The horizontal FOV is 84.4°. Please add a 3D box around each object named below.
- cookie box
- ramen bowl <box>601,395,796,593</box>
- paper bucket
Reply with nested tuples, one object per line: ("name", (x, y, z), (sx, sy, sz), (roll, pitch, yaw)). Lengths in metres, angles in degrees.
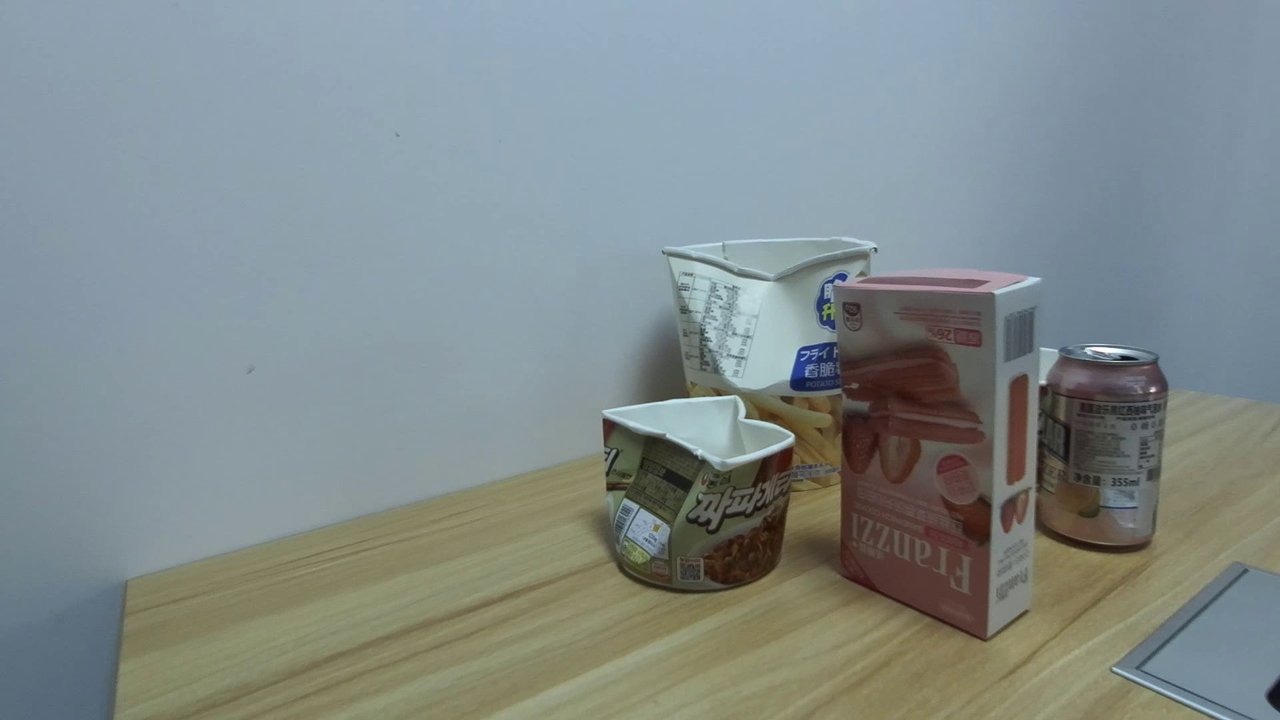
("cookie box", (0.158, 0.045, 0.396), (0.049, 0.187, 0.104), (-13, 15, -35))
("ramen bowl", (0.039, 0.086, 0.462), (0.112, 0.093, 0.128), (-6, 13, -13))
("paper bucket", (0.108, -0.002, 0.616), (0.162, 0.202, 0.169), (-4, 9, 4))
